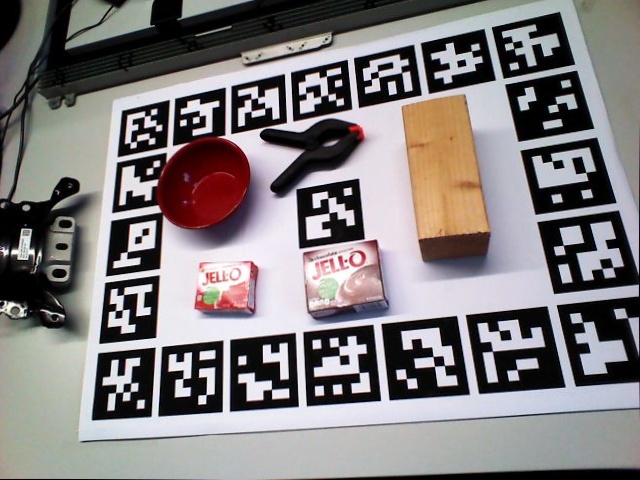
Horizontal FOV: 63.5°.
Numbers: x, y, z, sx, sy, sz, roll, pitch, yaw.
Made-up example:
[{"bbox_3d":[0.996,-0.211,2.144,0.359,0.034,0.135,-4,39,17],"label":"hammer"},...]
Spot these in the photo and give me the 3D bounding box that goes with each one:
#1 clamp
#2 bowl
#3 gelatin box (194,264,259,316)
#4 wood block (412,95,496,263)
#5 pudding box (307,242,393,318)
[{"bbox_3d":[-0.018,-0.141,0.823,0.166,0.036,0.121,-18,67,7],"label":"clamp"},{"bbox_3d":[-0.175,-0.082,0.833,0.162,0.055,0.161,-4,72,13],"label":"bowl"},{"bbox_3d":[-0.140,0.074,0.771,0.090,0.030,0.073,-1,72,15],"label":"gelatin box"},{"bbox_3d":[0.181,-0.082,0.706,0.090,0.091,0.205,-6,69,12],"label":"wood block"},{"bbox_3d":[0.041,0.058,0.724,0.114,0.038,0.089,-10,72,15],"label":"pudding box"}]
